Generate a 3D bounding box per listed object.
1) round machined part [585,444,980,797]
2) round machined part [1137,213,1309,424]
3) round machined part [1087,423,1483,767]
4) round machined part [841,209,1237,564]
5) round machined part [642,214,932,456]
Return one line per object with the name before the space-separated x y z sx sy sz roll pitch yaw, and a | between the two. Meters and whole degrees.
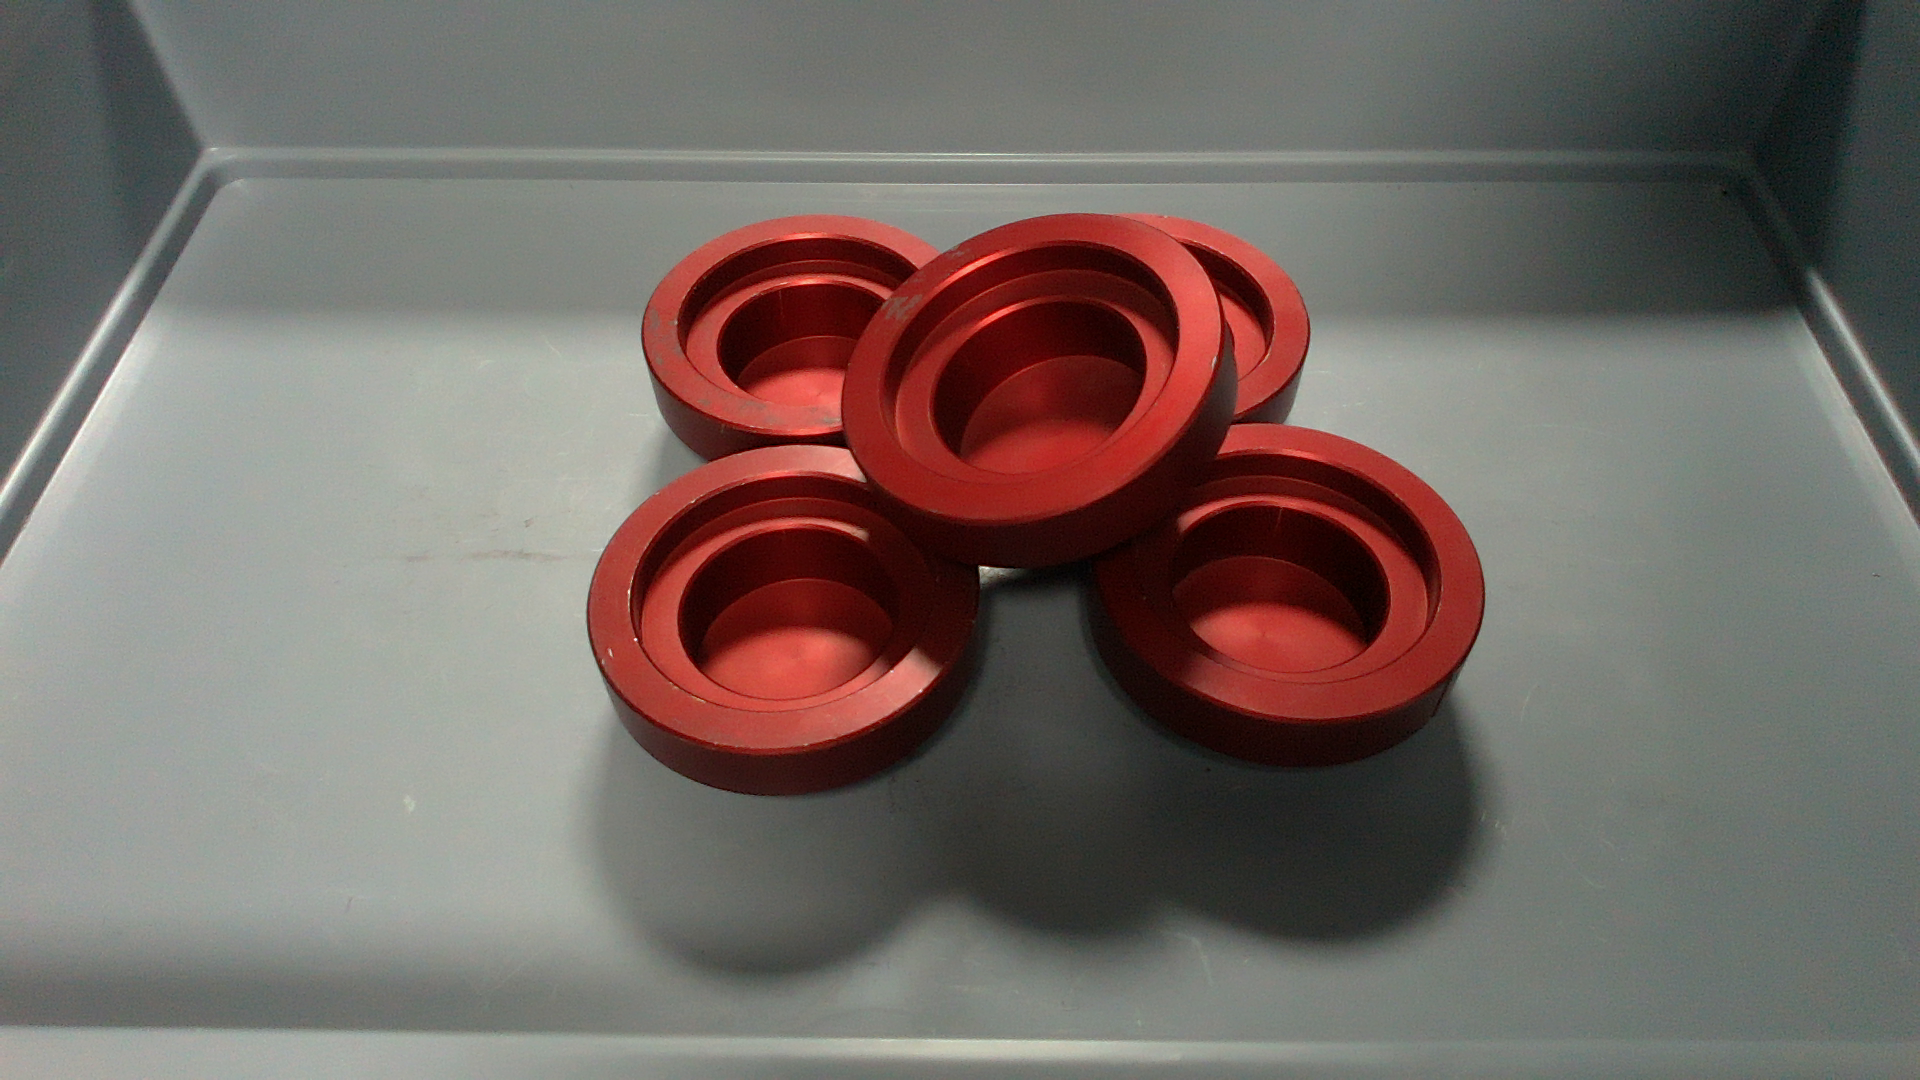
round machined part | -0.044 0.024 0.358 0.098 0.042 0.098 0 50 0
round machined part | 0.055 -0.055 0.425 0.098 0.042 0.098 0 50 0
round machined part | 0.082 0.018 0.364 0.098 0.042 0.098 0 50 0
round machined part | 0.022 -0.035 0.352 0.098 0.042 0.098 -11 53 15
round machined part | -0.045 -0.054 0.424 0.098 0.042 0.098 0 50 0
